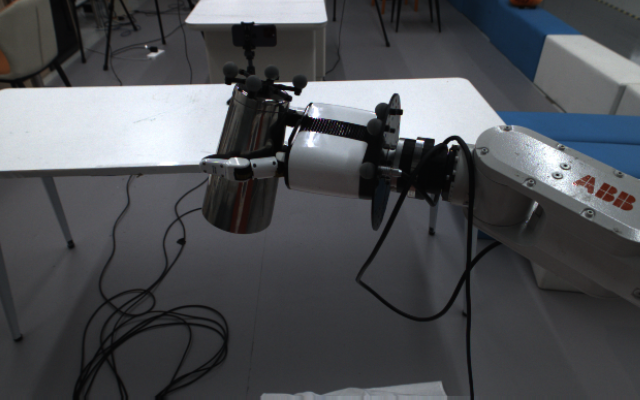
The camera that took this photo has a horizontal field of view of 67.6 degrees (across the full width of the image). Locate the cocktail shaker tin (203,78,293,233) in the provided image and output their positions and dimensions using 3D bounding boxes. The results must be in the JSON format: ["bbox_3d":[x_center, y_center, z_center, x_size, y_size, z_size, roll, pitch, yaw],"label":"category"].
[{"bbox_3d":[-0.085,-0.056,0.595,0.093,0.170,0.093,12,29,-7],"label":"cocktail shaker tin"}]
